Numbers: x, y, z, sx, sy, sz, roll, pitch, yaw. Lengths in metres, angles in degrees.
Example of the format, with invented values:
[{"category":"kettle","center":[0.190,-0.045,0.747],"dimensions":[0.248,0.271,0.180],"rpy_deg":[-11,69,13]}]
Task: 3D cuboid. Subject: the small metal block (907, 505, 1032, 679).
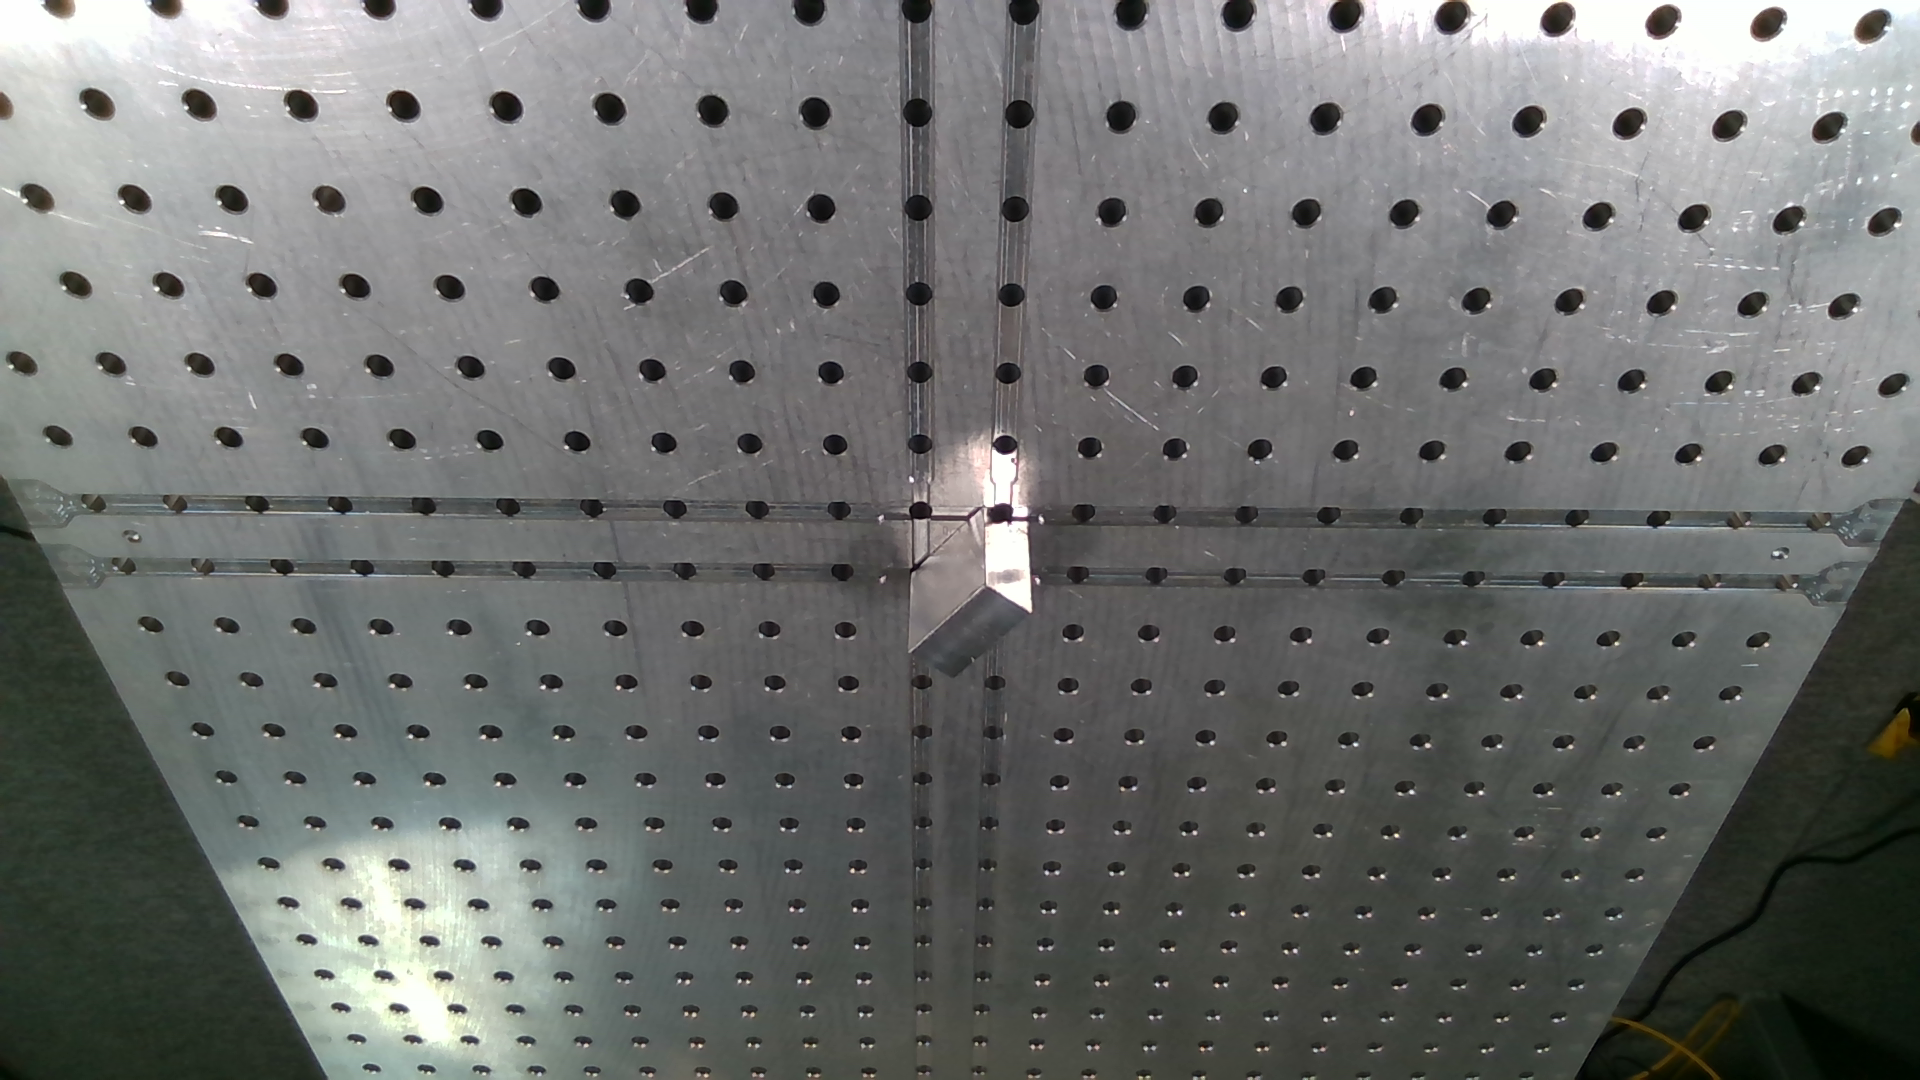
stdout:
[{"category":"small metal block","center":[0.004,0.022,0.584],"dimensions":[0.025,0.050,0.050],"rpy_deg":[33,123,-24]}]
